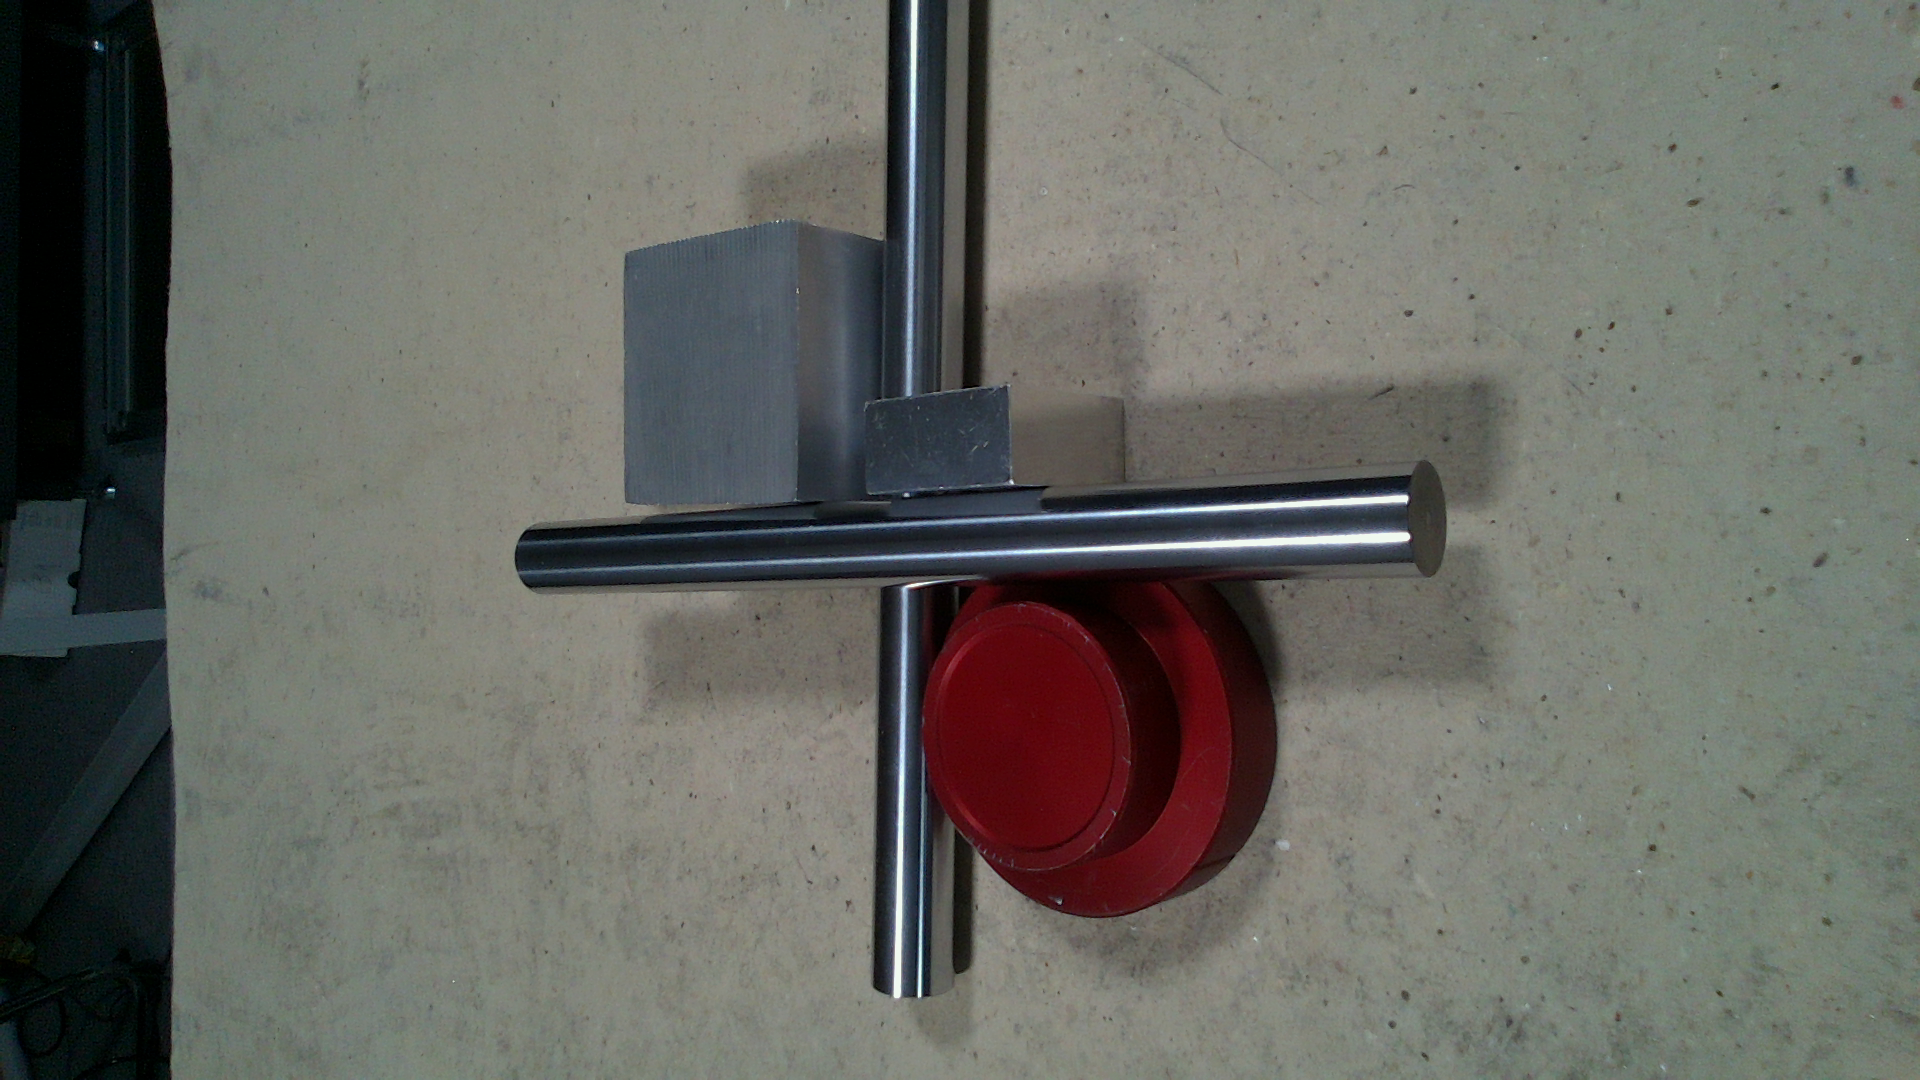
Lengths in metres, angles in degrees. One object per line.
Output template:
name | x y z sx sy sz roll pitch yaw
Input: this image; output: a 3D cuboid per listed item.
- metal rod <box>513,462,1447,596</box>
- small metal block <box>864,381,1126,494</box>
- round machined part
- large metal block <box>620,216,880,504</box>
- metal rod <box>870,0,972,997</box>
metal rod | -0.021 0.001 0.380 0.299 0.025 0.025 -3 88 36
small metal block | 0.010 -0.026 0.371 0.050 0.050 0.025 -2 89 40
round machined part | 0.028 0.050 0.359 0.098 0.042 0.098 0 90 40
large metal block | -0.061 -0.051 0.429 0.080 0.050 0.080 1 91 40
metal rod | -0.011 -0.019 0.405 0.025 0.025 0.300 2 91 40
